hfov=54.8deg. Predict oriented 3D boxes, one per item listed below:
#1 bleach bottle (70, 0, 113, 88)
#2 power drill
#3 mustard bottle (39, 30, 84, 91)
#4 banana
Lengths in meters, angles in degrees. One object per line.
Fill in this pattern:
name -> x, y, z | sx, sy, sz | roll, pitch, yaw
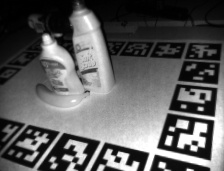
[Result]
bleach bottle -> -0.066, -0.112, 0.586 | 0.101, 0.253, 0.068 | 10, 40, 27
power drill -> -0.158, -0.132, 0.642 | 0.182, 0.188, 0.058 | 19, 50, 32
mustard bottle -> -0.147, -0.065, 0.593 | 0.095, 0.193, 0.058 | 8, 46, 25
banana -> -0.159, 0.015, 0.638 | 0.195, 0.039, 0.074 | 10, 47, 30
